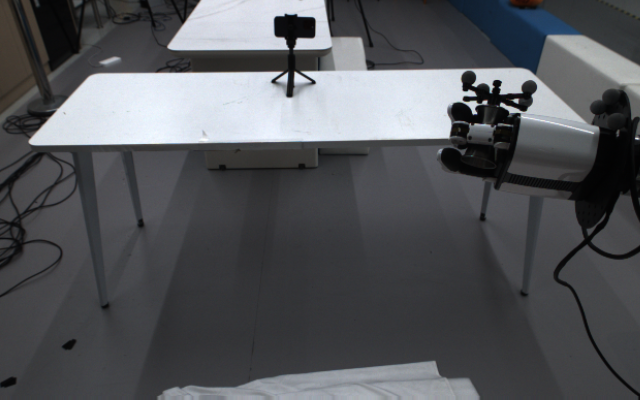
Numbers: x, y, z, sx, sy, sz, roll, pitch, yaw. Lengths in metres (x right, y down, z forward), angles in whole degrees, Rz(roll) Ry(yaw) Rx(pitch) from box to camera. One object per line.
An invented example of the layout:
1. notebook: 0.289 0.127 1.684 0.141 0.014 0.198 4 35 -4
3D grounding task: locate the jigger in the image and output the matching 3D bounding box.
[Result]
1. jigger: 0.203 -0.077 0.590 0.043 0.071 0.043 16 -7 2
